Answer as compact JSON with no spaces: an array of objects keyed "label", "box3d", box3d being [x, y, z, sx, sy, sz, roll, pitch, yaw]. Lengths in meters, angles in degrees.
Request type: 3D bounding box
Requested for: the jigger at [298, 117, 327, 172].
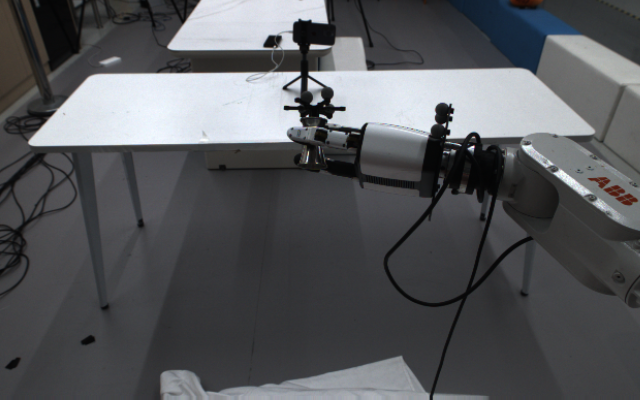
[{"label":"jigger","box3d":[-0.011,-0.082,0.693,0.043,0.071,0.043,2,-6,0]}]
